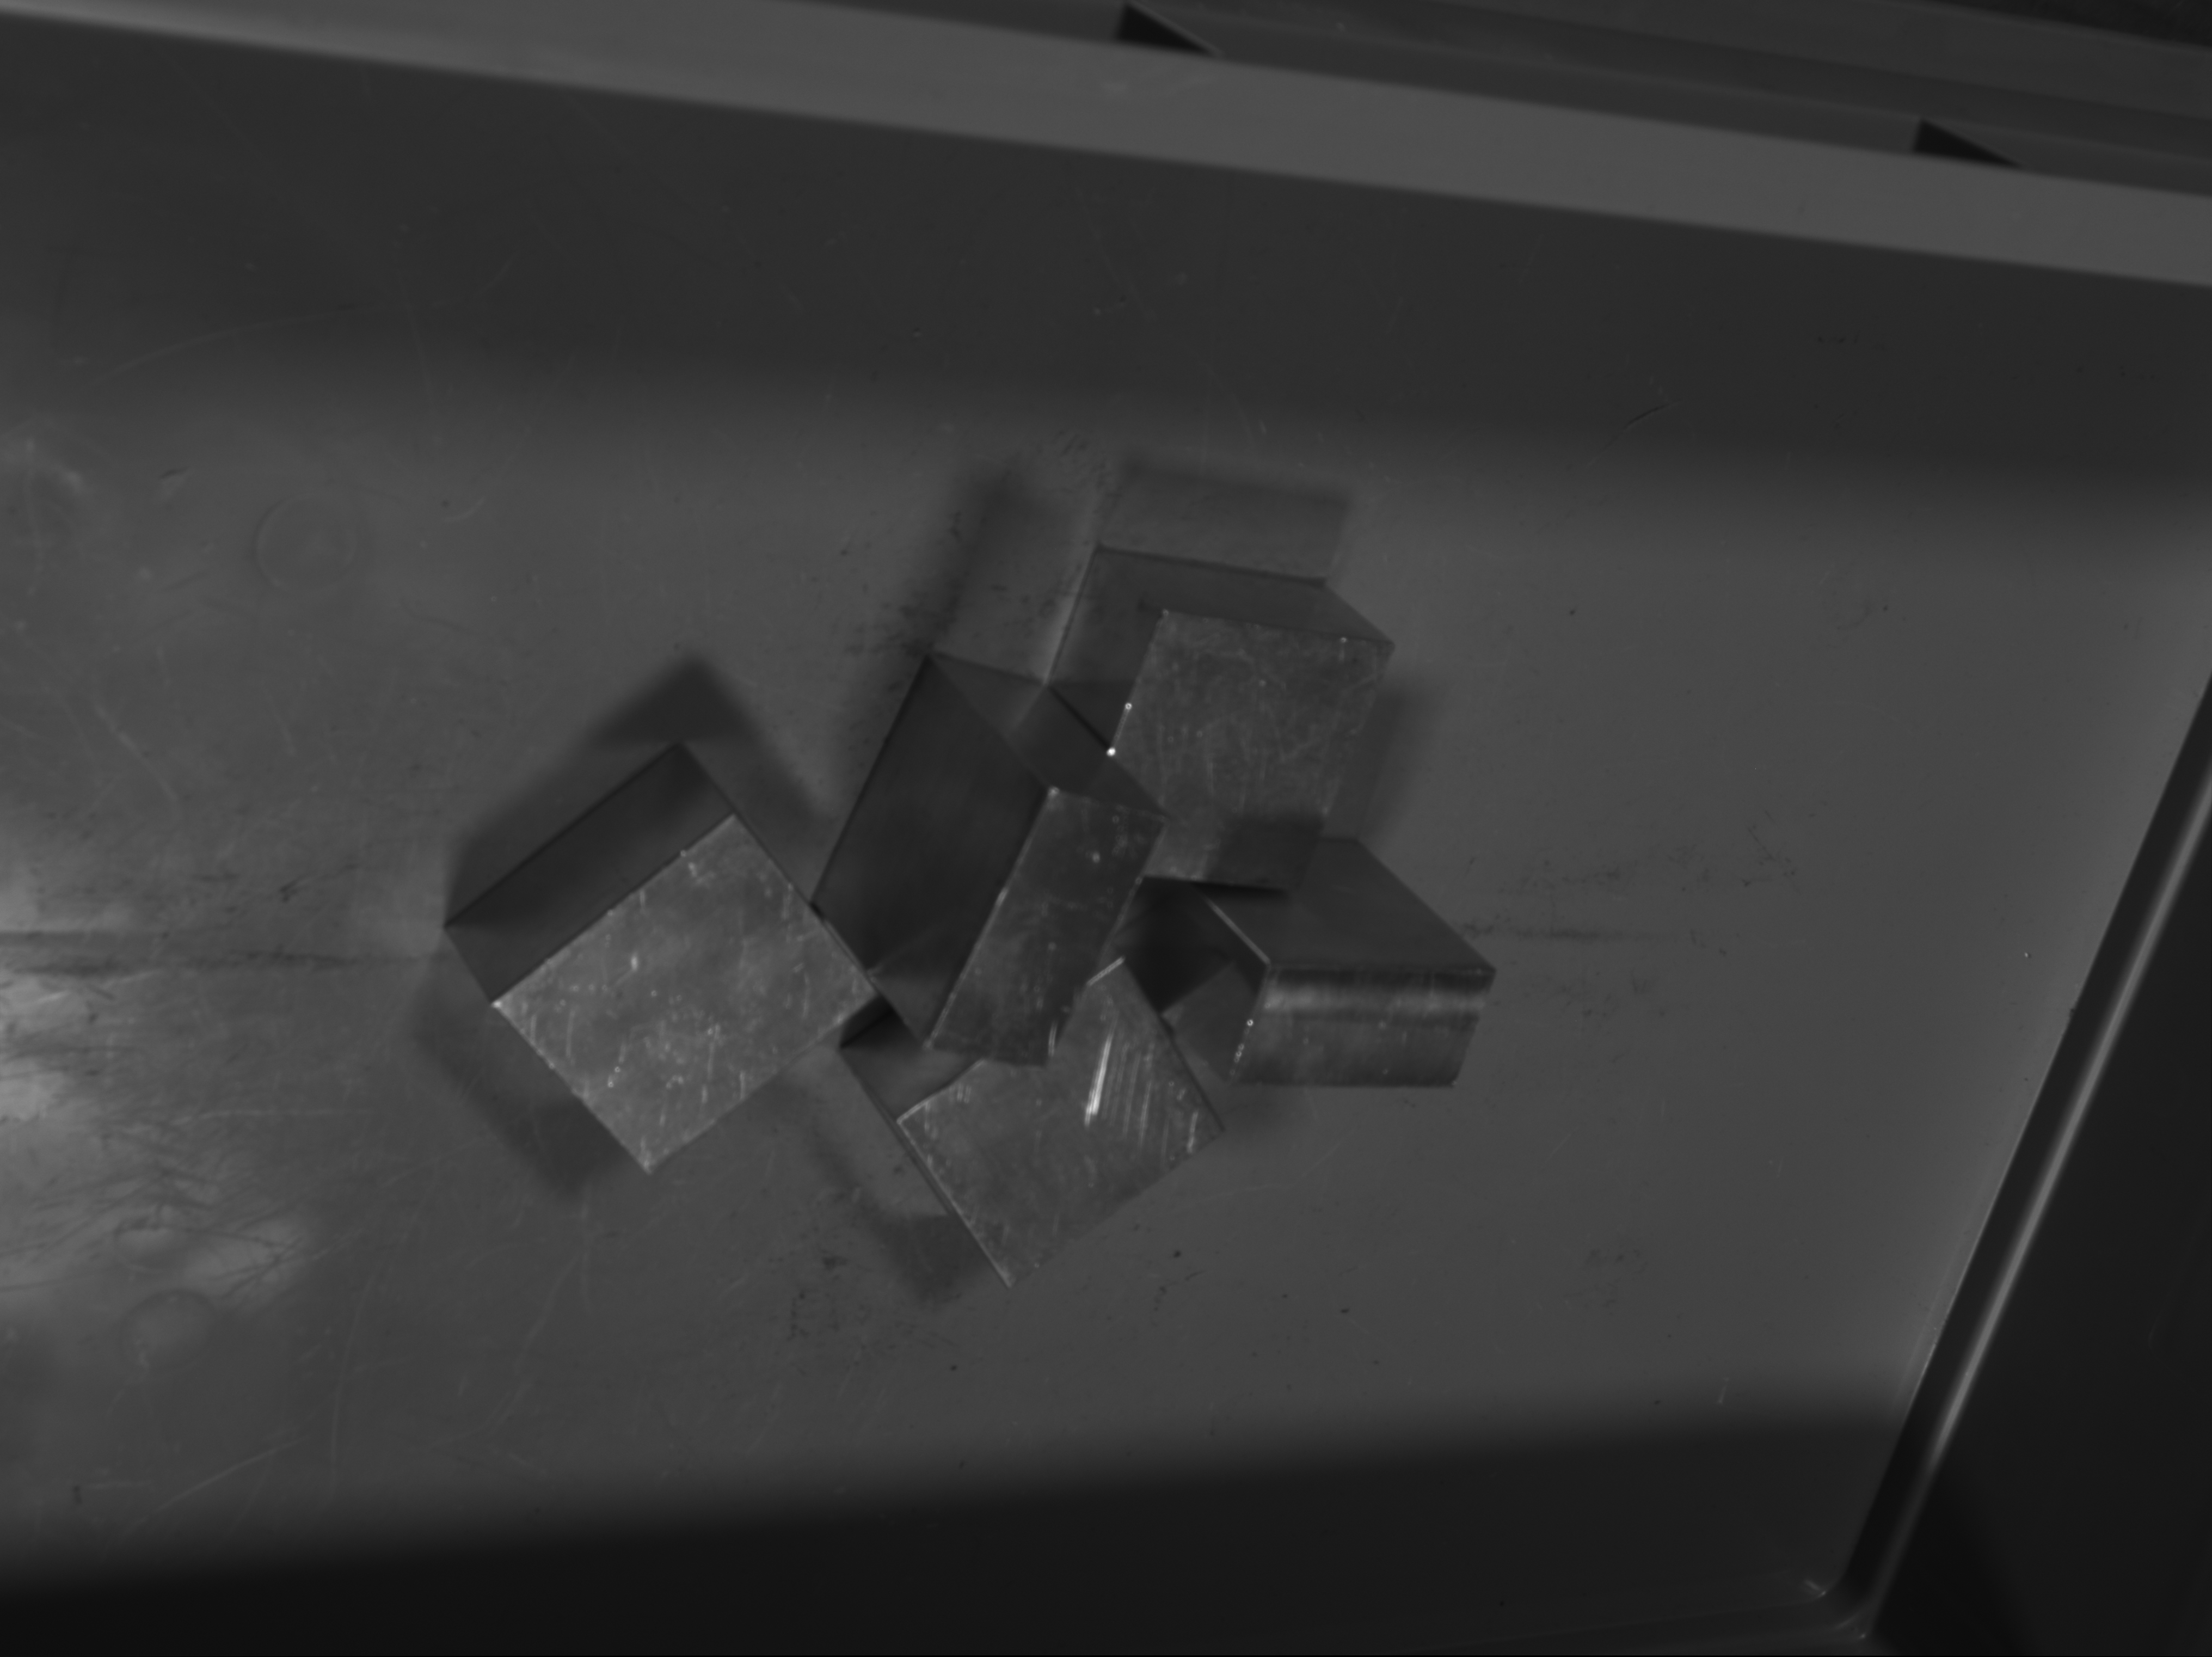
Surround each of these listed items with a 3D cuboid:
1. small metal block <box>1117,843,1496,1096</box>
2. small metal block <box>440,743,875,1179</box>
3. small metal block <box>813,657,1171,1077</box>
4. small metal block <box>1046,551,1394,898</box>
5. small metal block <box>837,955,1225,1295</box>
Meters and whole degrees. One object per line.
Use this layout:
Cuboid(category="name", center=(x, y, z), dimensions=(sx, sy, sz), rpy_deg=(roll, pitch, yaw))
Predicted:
Cuboid(category="small metal block", center=(0.034, 0.025, 0.667), dimensions=(0.050, 0.050, 0.025), rpy_deg=(3, 116, -32))
Cuboid(category="small metal block", center=(-0.075, 0.023, 0.619), dimensions=(0.050, 0.025, 0.050), rpy_deg=(-39, 130, -4))
Cuboid(category="small metal block", center=(-0.021, 0.006, 0.624), dimensions=(0.025, 0.050, 0.050), rpy_deg=(14, 111, -35))
Cuboid(category="small metal block", center=(0.016, -0.018, 0.647), dimensions=(0.050, 0.025, 0.050), rpy_deg=(7, 115, -33))
Cuboid(category="small metal block", center=(-0.013, 0.049, 0.671), dimensions=(0.050, 0.025, 0.050), rpy_deg=(-35, 130, -7))
